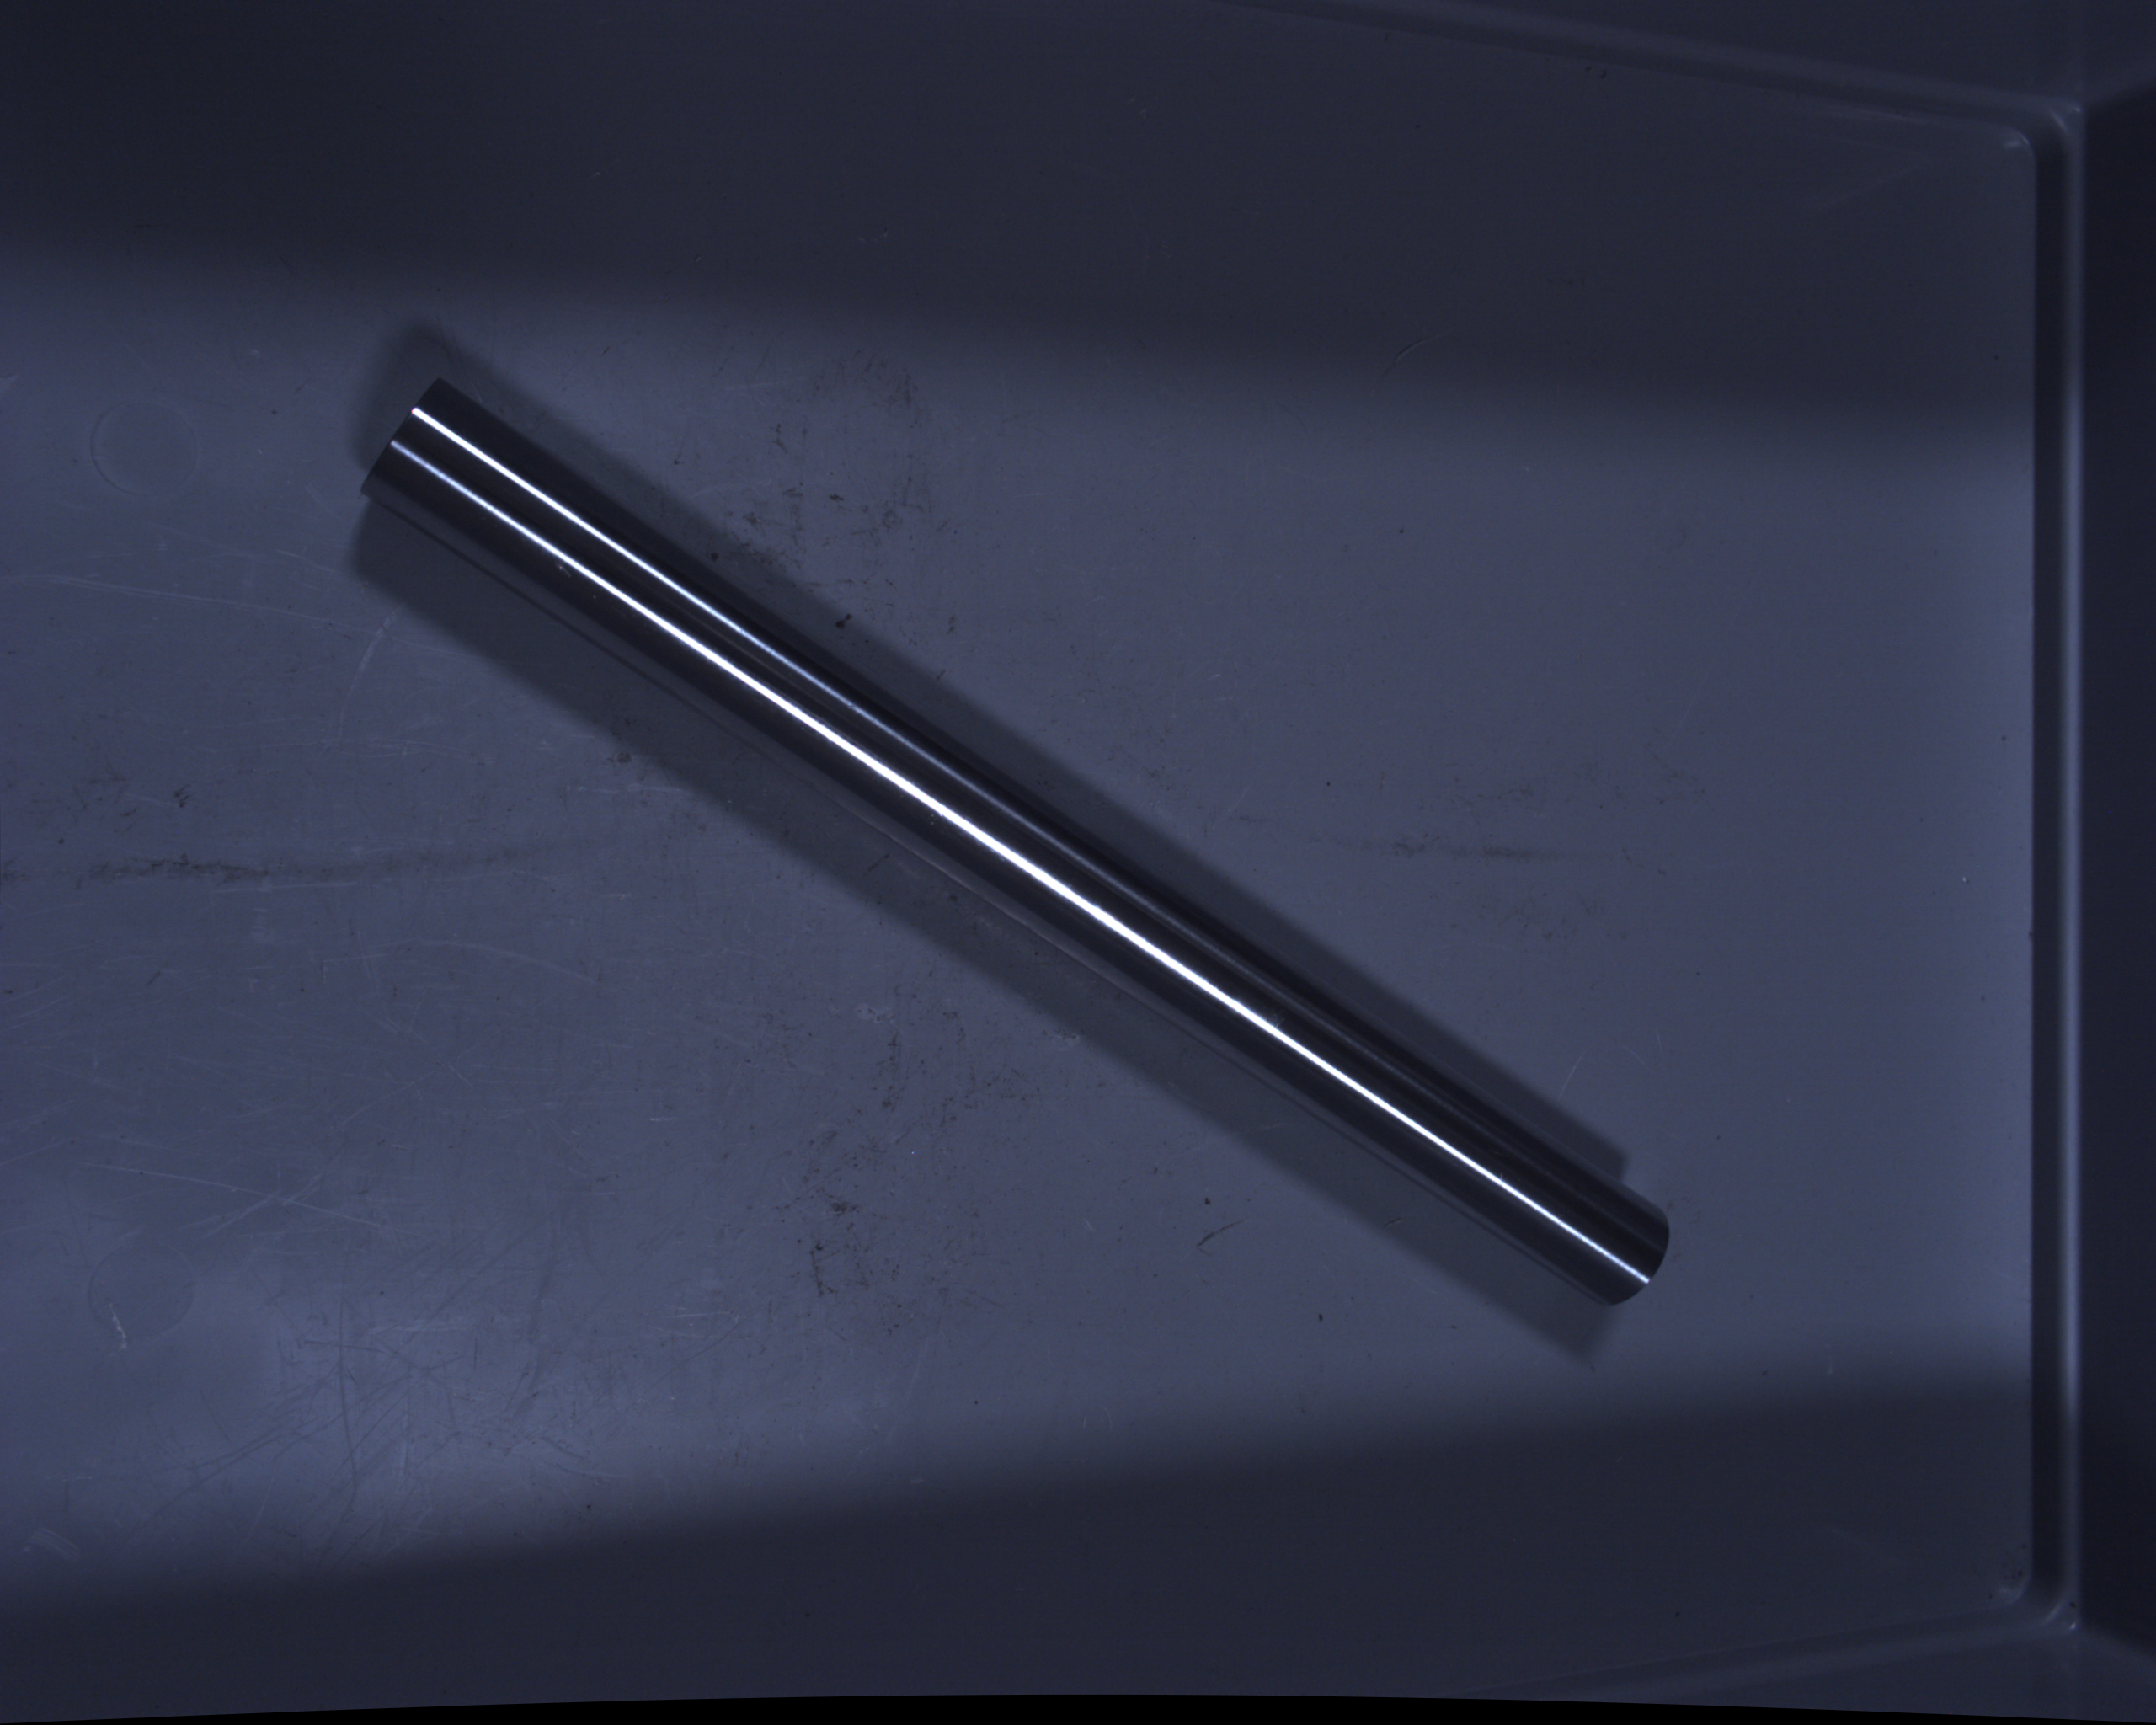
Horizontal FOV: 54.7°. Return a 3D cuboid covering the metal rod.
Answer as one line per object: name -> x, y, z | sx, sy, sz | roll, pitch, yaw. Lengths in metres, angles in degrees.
metal rod -> 0.001, 0.005, 0.410 | 0.301, 0.025, 0.025 | 34, 79, -17
